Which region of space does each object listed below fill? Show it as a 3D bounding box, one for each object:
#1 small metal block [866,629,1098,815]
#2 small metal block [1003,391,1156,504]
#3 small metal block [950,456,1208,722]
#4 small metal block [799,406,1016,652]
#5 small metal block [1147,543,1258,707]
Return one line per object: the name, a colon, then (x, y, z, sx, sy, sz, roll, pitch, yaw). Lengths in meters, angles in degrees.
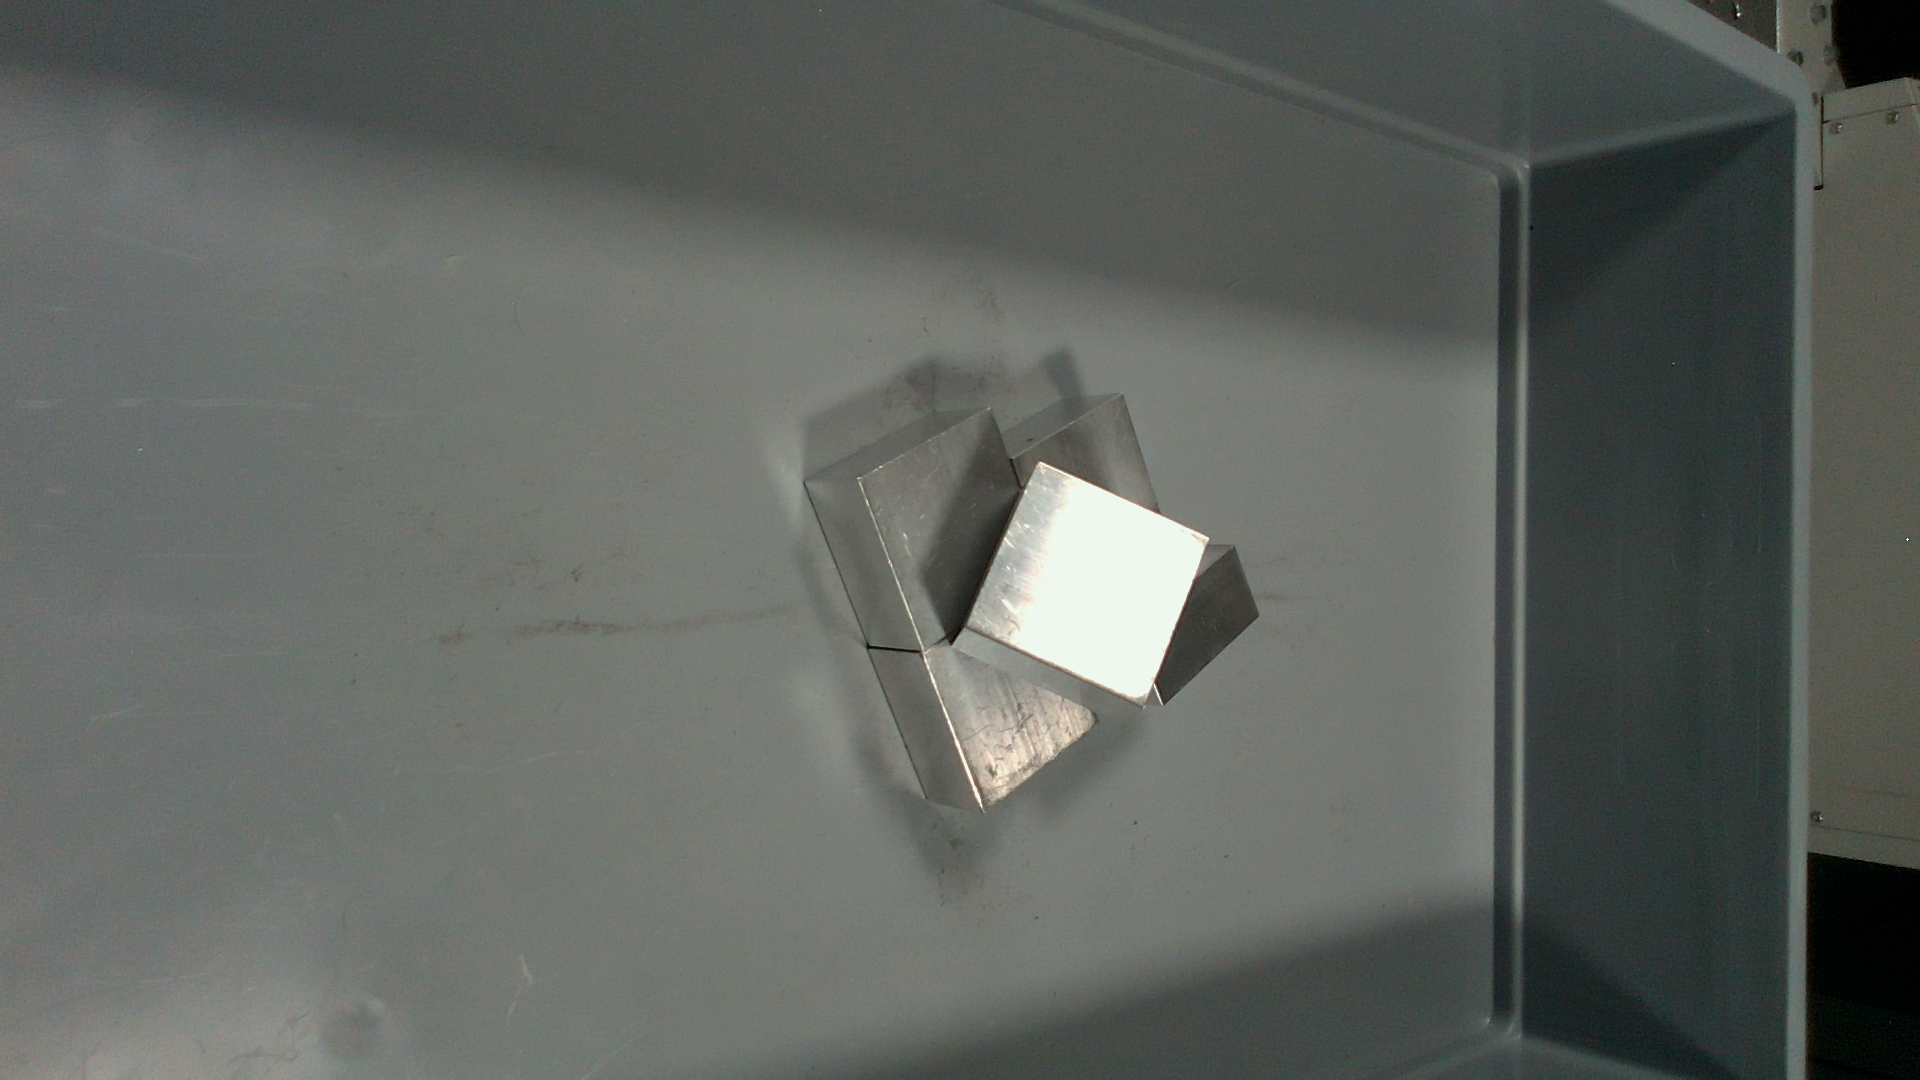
small metal block: (0.007, 0.042, 0.393, 0.050, 0.025, 0.050, -31, 109, -35)
small metal block: (0.031, -0.011, 0.413, 0.050, 0.025, 0.050, -31, 109, -35)
small metal block: (0.031, 0.013, 0.365, 0.050, 0.025, 0.050, 24, 71, -1)
small metal block: (-0.009, -0.004, 0.380, 0.050, 0.025, 0.050, -31, 109, -35)
small metal block: (0.052, 0.024, 0.414, 0.050, 0.050, 0.025, -35, 112, -35)
